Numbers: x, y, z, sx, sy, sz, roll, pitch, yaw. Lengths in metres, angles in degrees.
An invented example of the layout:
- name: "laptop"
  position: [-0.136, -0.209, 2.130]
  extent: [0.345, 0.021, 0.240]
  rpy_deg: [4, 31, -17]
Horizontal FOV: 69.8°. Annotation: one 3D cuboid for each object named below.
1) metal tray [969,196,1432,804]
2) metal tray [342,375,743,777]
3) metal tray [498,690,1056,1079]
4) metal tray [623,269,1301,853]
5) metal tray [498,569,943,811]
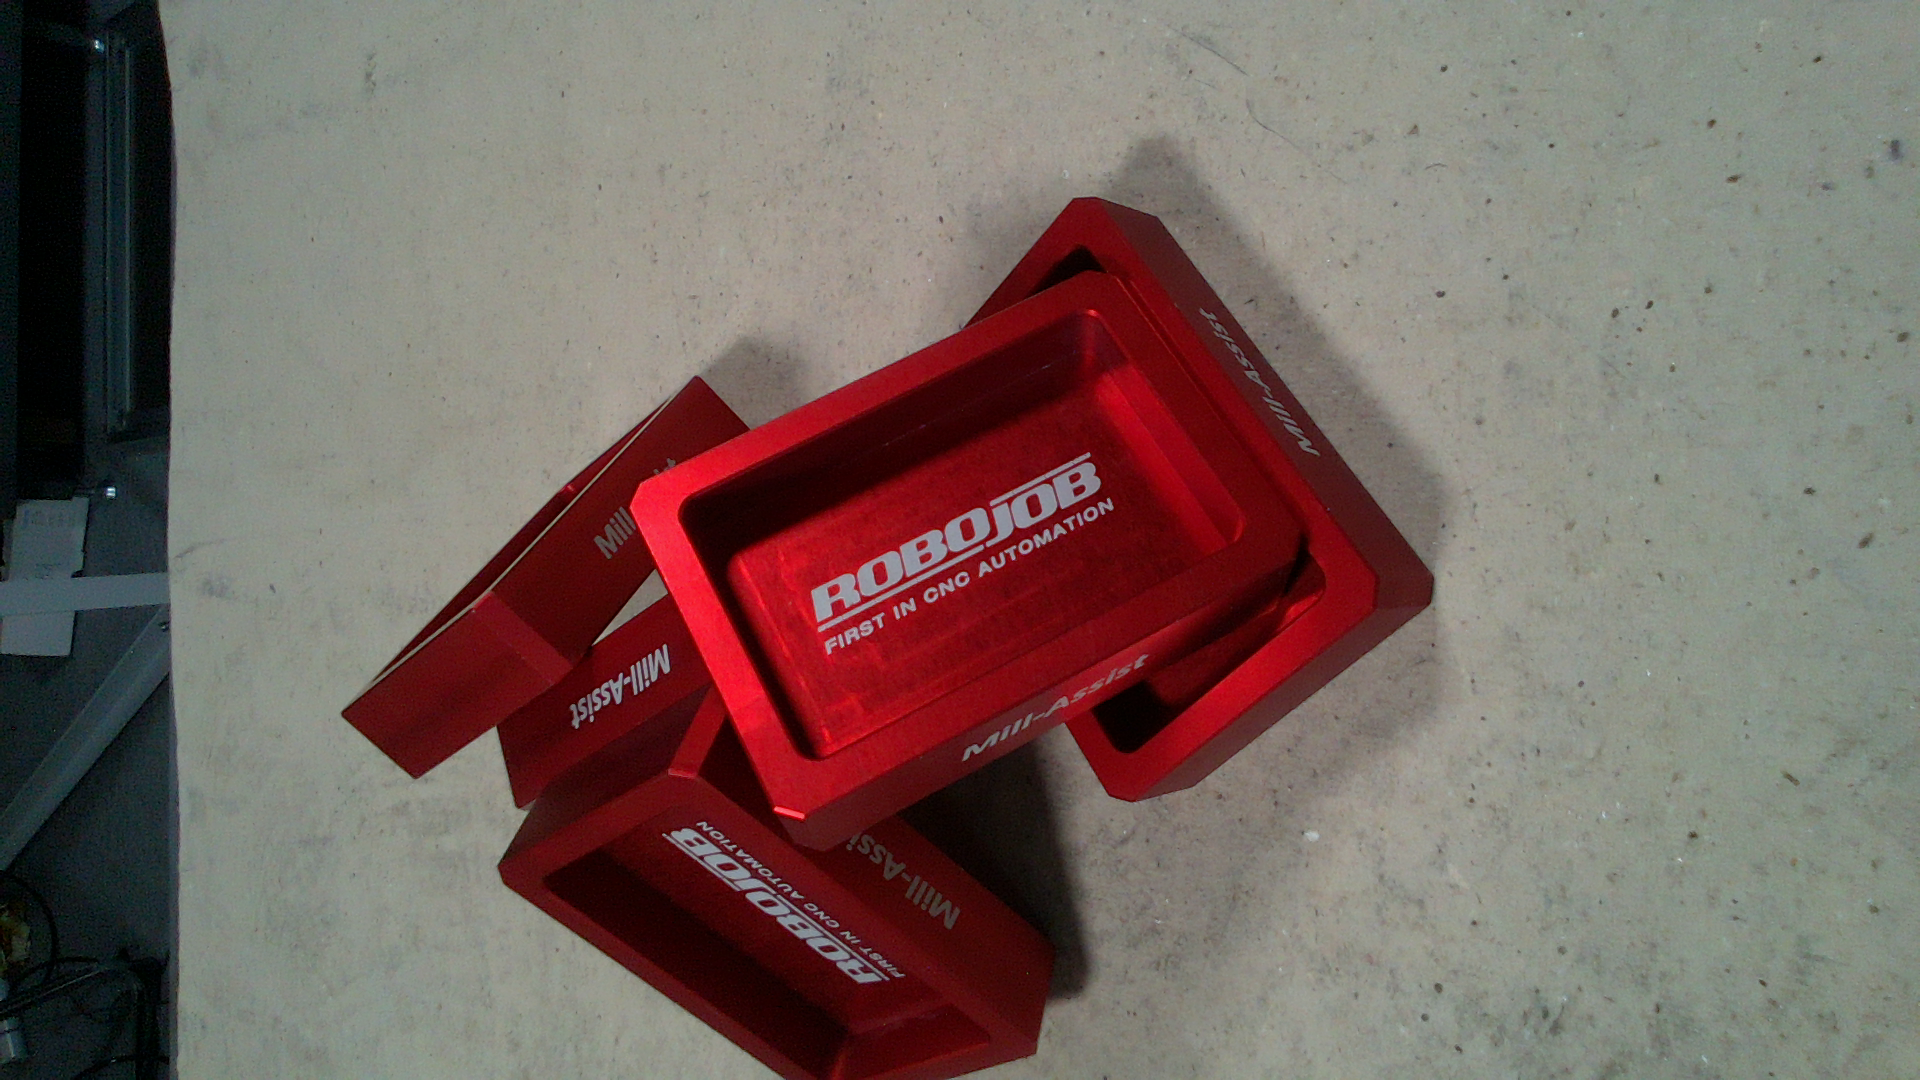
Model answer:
- name: "metal tray"
  position: [0.045, -0.011, 0.354]
  extent: [0.090, 0.030, 0.130]
  rpy_deg: [-46, 62, 30]
- name: "metal tray"
  position: [-0.127, 0.008, 0.440]
  extent: [0.090, 0.130, 0.030]
  rpy_deg: [-31, 109, 36]
- name: "metal tray"
  position: [-0.049, 0.103, 0.379]
  extent: [0.090, 0.030, 0.130]
  rpy_deg: [-31, 116, 36]
- name: "metal tray"
  position: [0.000, 0.002, 0.322]
  extent: [0.130, 0.030, 0.090]
  rpy_deg: [-27, 67, -10]
- name: "metal tray"
  position: [-0.064, 0.040, 0.406]
  extent: [0.130, 0.090, 0.030]
  rpy_deg: [-32, 70, 36]
